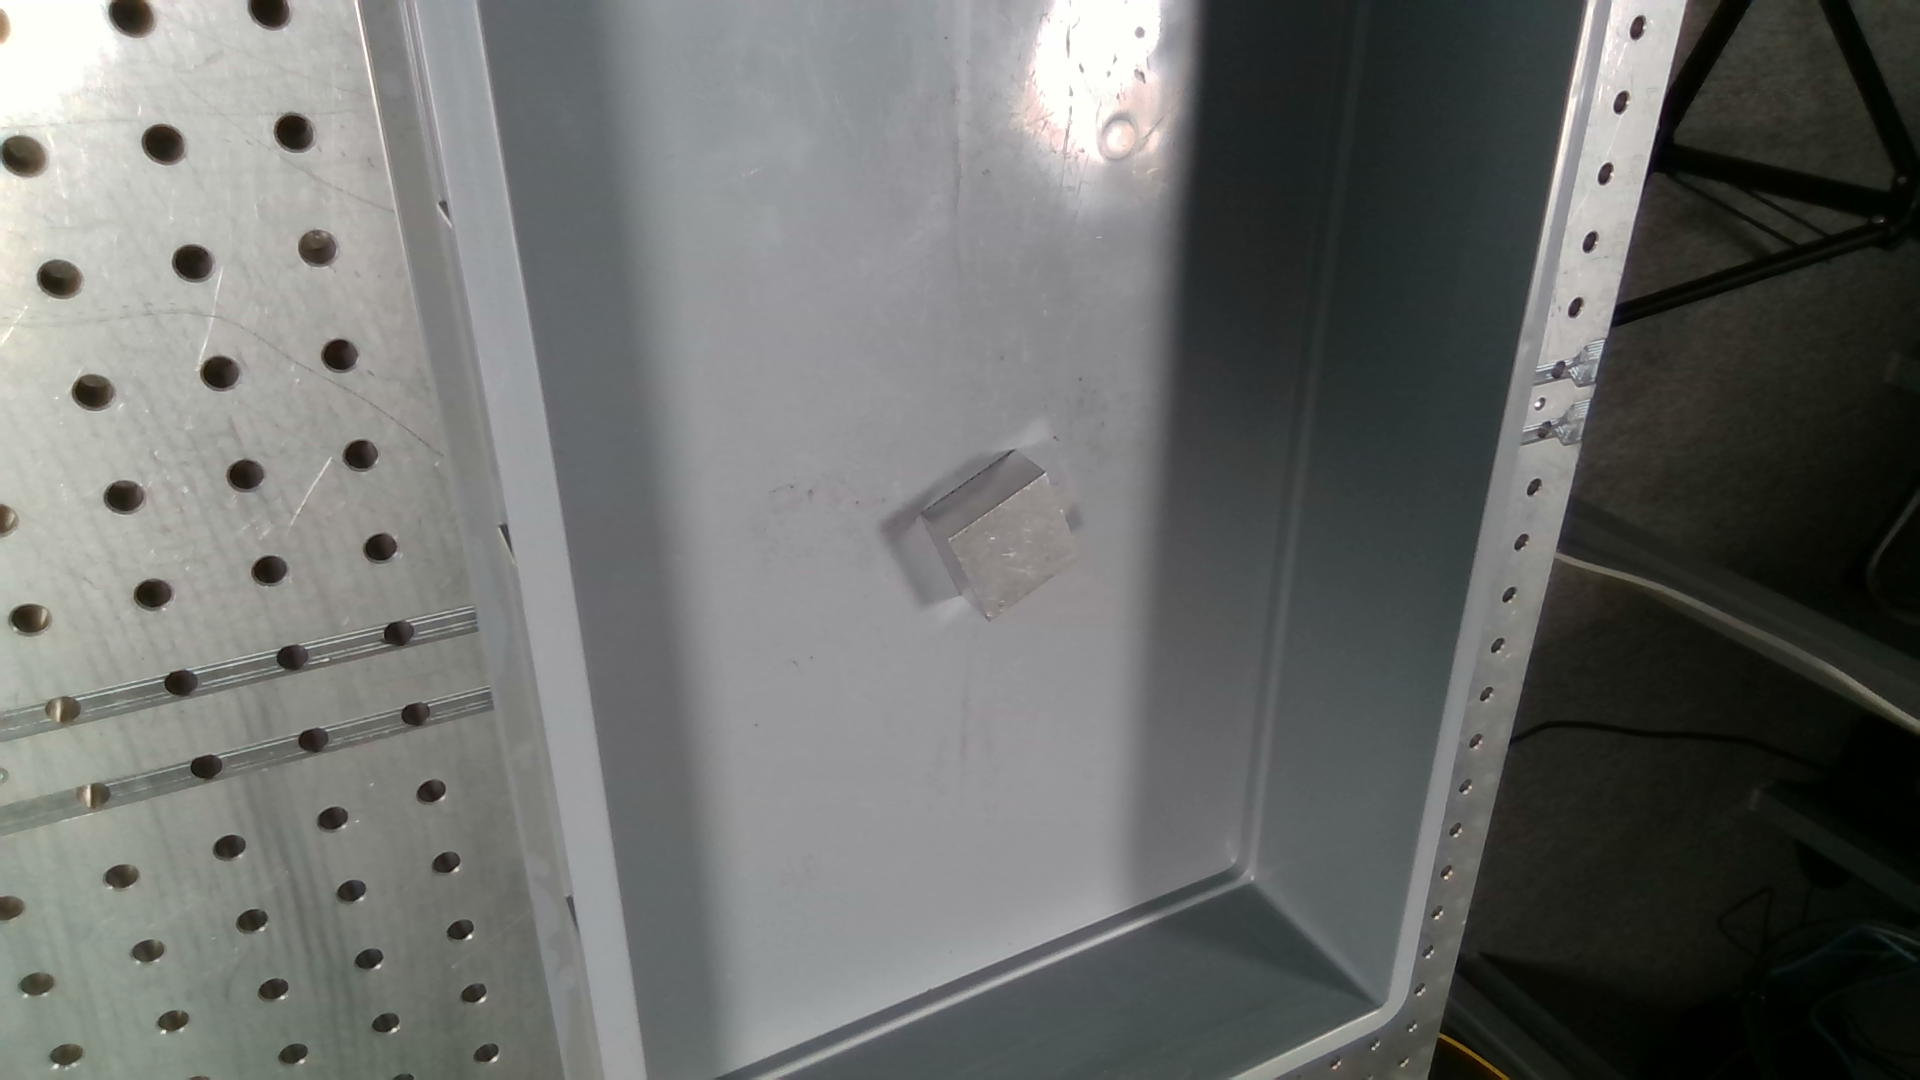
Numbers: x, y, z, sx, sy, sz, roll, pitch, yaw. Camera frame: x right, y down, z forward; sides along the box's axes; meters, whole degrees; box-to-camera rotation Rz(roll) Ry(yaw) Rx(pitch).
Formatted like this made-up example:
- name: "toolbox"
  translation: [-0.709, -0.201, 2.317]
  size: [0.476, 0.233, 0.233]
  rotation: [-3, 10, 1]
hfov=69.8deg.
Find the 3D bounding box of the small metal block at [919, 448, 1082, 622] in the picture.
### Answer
- name: "small metal block"
  translation: [0.018, -0.002, 0.587]
  size: [0.050, 0.025, 0.050]
  rotation: [-35, 128, -11]
